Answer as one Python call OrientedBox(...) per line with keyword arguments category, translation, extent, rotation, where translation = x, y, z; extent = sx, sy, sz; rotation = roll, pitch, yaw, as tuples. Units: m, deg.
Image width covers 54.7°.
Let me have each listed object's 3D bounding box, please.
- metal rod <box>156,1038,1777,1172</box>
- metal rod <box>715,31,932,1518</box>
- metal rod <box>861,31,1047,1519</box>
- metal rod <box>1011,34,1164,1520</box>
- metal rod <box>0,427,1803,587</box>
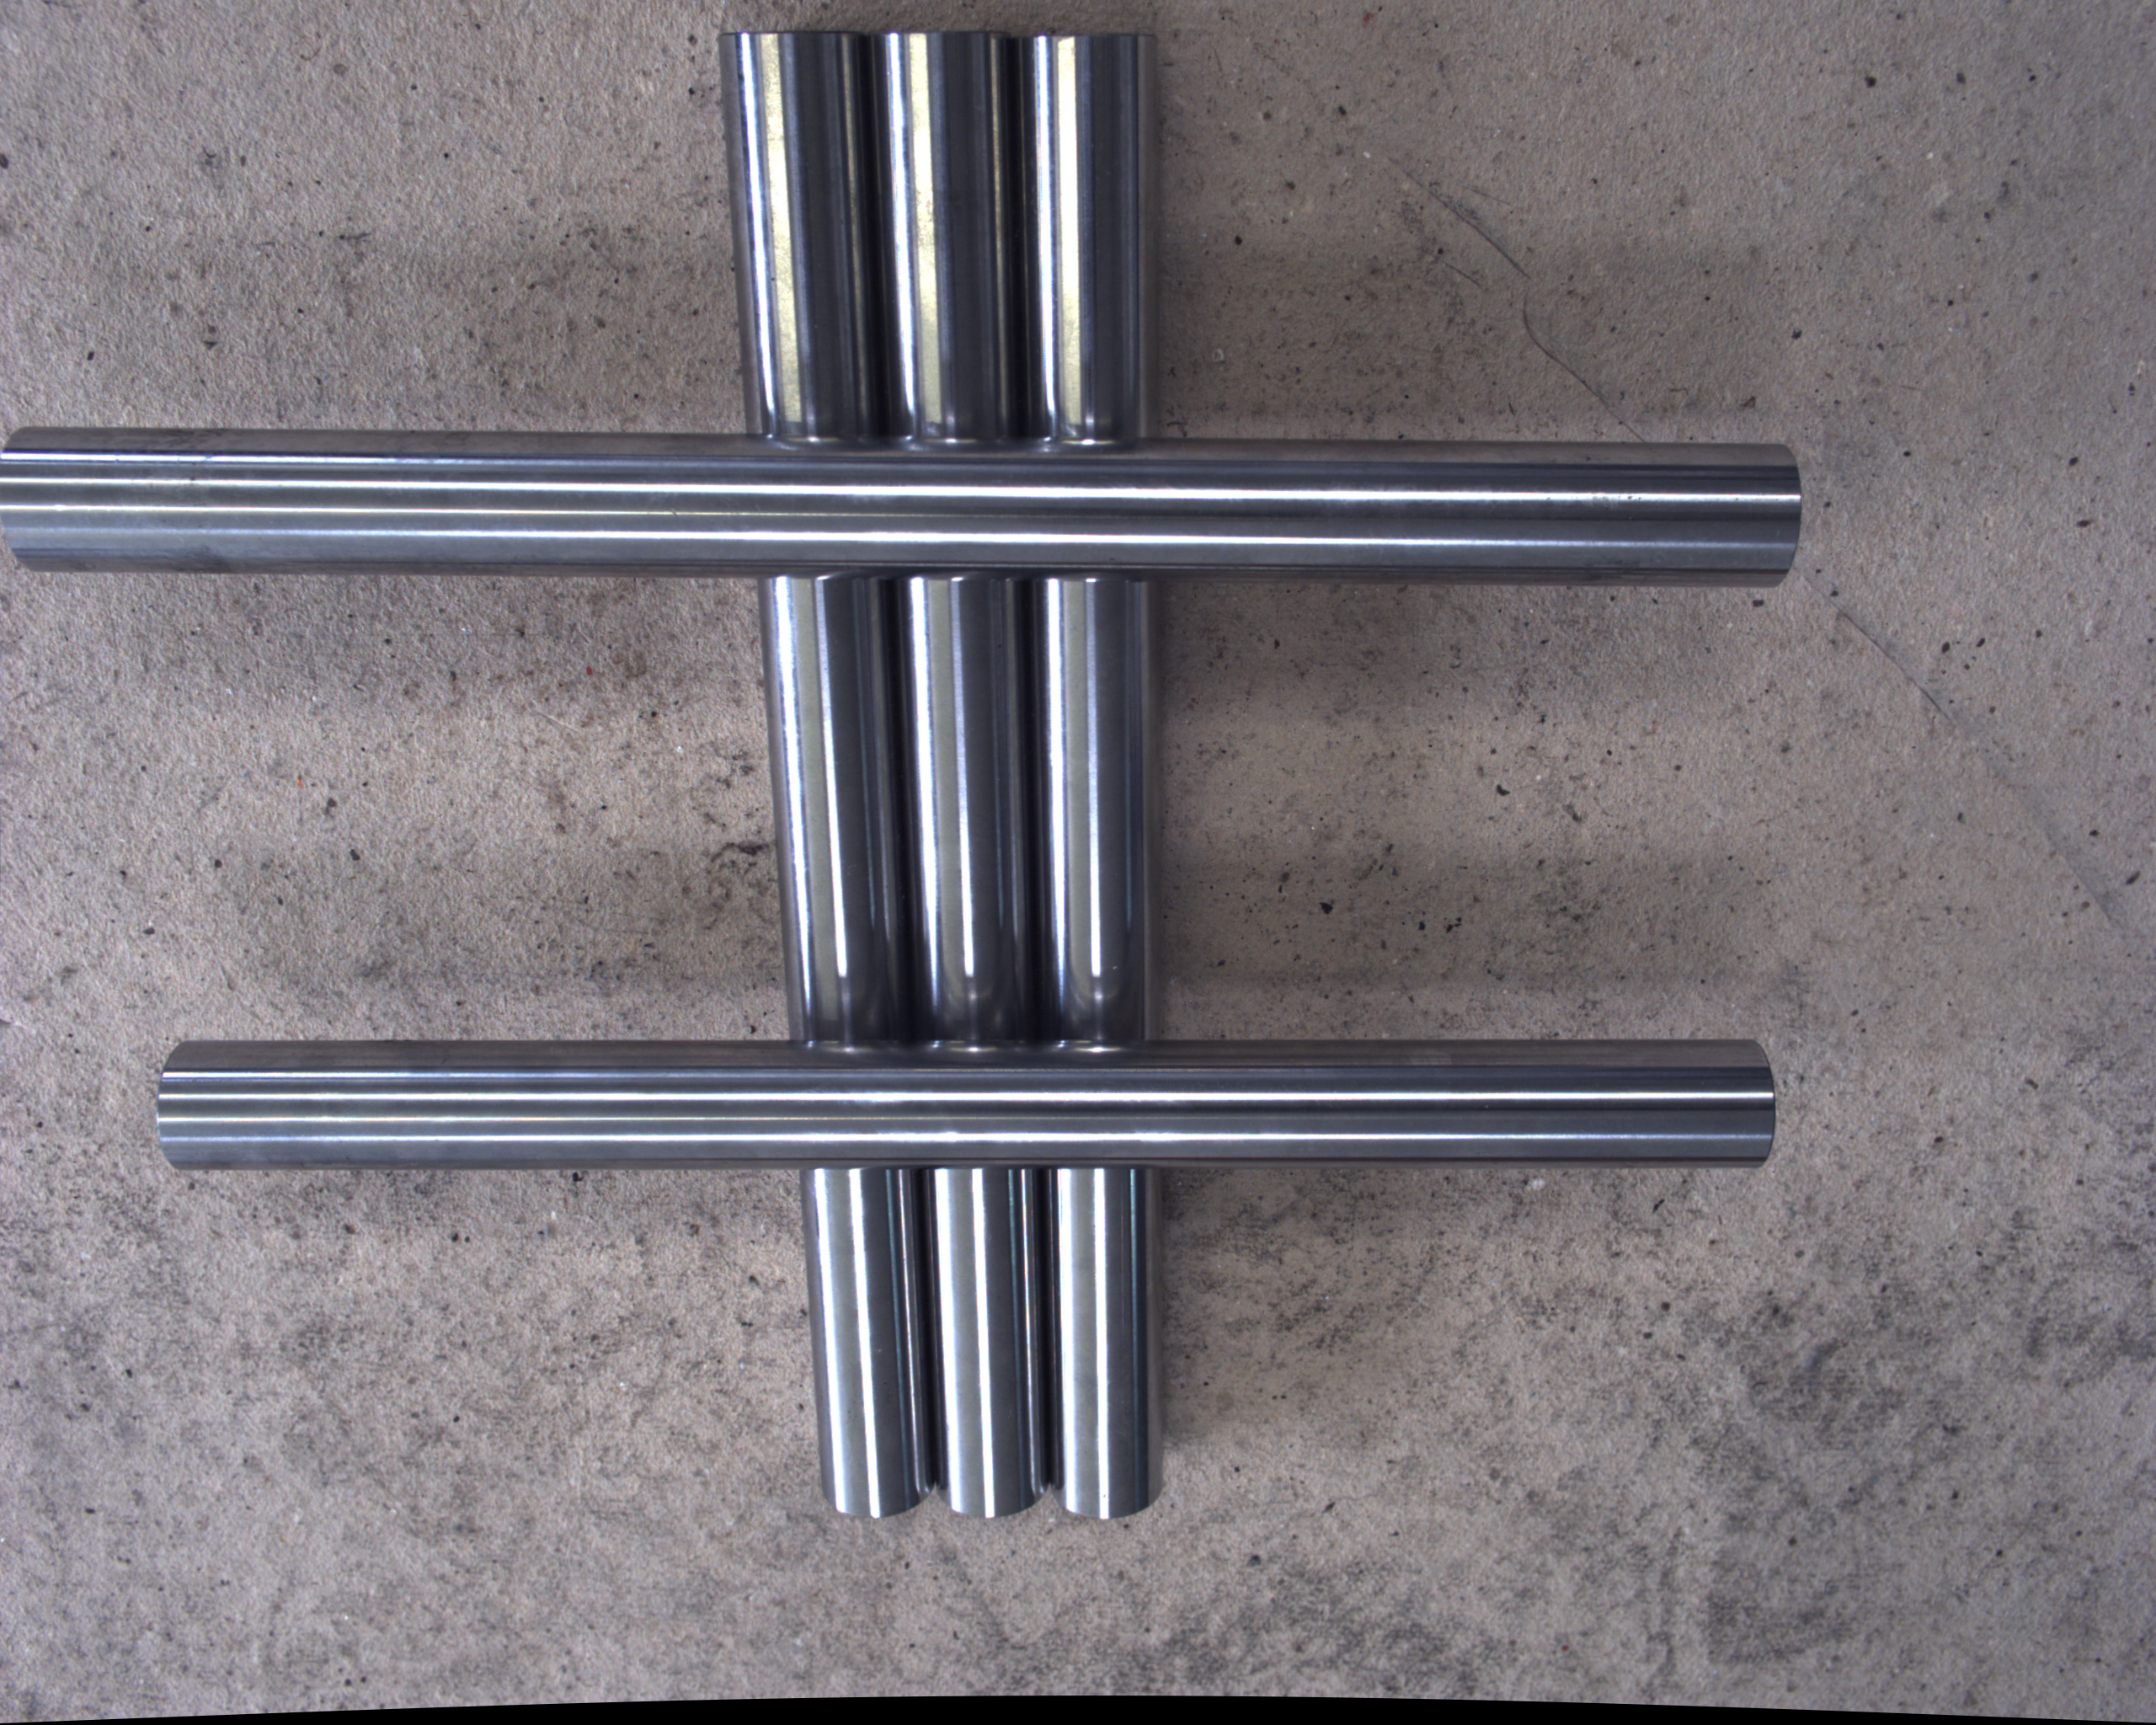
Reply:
OrientedBox(category="metal rod", translation=(-0.020, 0.046, 0.401), extent=(0.302, 0.025, 0.025), rotation=(0, 110, -1))
OrientedBox(category="metal rod", translation=(-0.047, -0.003, 0.409), extent=(0.025, 0.025, 0.298), rotation=(-1, 110, 0))
OrientedBox(category="metal rod", translation=(-0.022, -0.003, 0.410), extent=(0.025, 0.025, 0.298), rotation=(-1, 110, 0))
OrientedBox(category="metal rod", translation=(0.004, -0.002, 0.410), extent=(0.025, 0.025, 0.298), rotation=(-1, 110, 0))
OrientedBox(category="metal rod", translation=(-0.029, -0.061, 0.361), extent=(0.302, 0.025, 0.025), rotation=(0, 110, -1))
